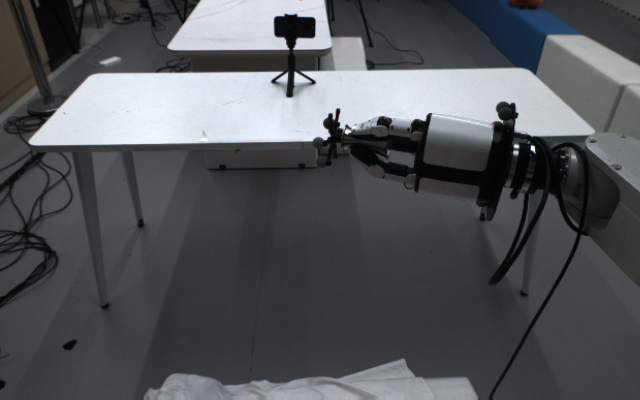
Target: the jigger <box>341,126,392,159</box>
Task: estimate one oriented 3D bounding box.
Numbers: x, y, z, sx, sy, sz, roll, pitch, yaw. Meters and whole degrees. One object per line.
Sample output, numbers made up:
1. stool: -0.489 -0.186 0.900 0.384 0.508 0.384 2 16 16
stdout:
1. jigger: 0.074 -0.090 0.699 0.071 0.043 0.043 9 35 16
